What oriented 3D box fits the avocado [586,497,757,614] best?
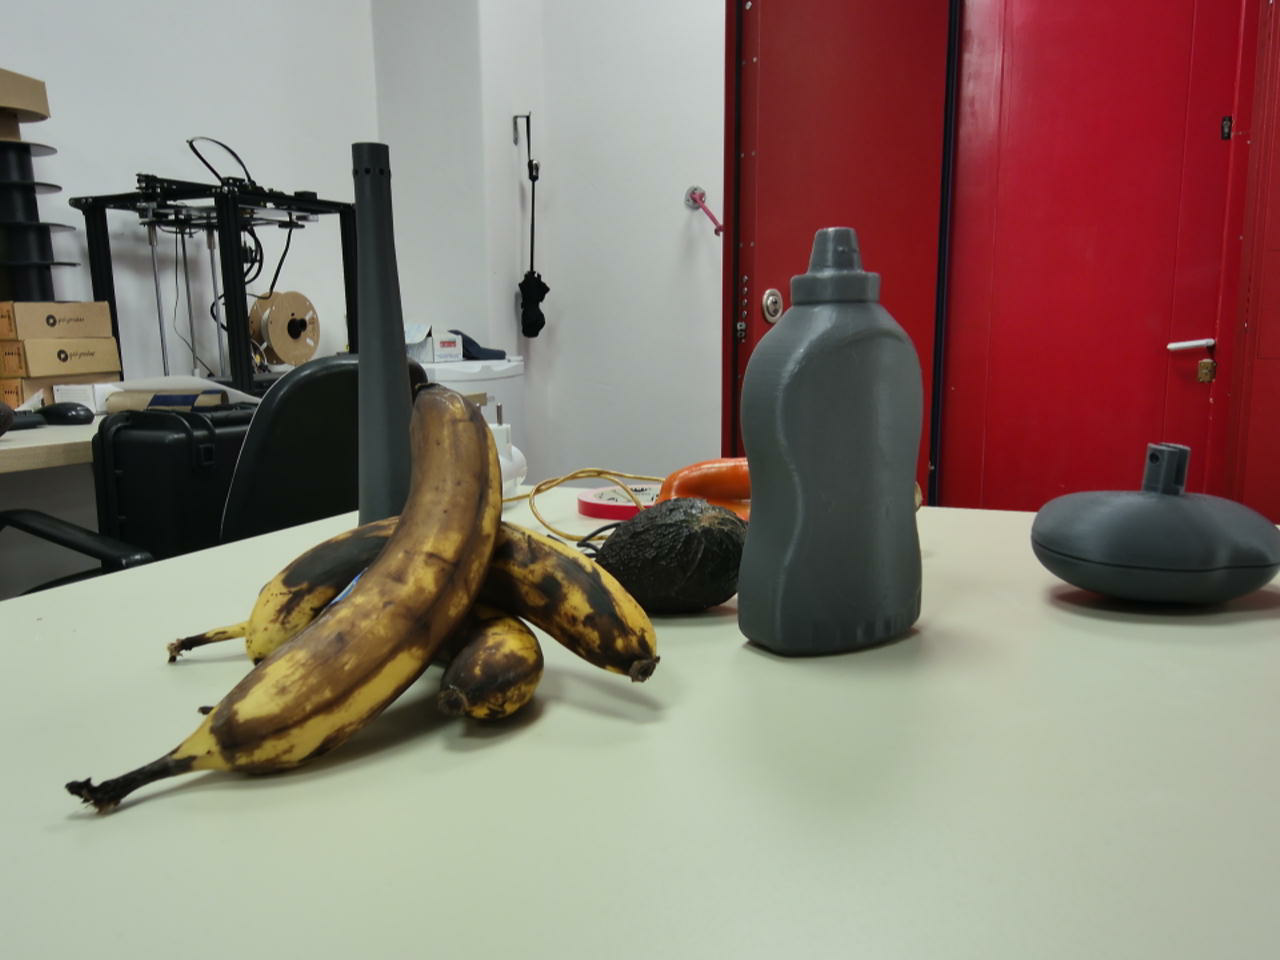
[{"bbox_3d":[0.017,0.041,0.545,0.092,0.062,0.062,1,6,0],"label":"avocado"}]
